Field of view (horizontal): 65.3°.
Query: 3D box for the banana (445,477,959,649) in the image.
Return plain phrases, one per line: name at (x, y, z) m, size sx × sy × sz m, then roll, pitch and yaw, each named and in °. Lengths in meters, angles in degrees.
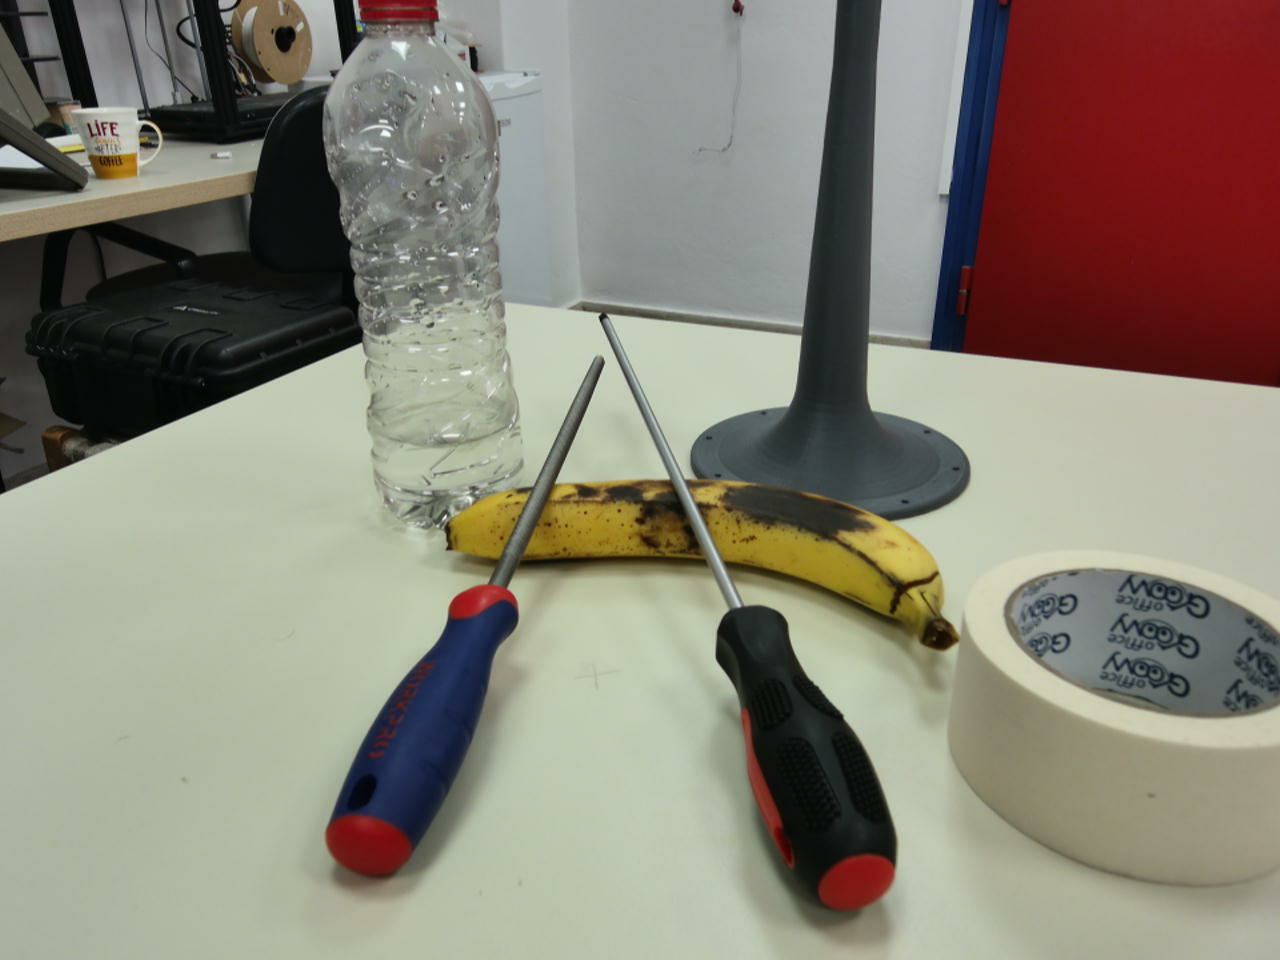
banana at (0.028, 0.025, 0.428) m, size 0.222 × 0.037 × 0.084 m, roll 11°, pitch 26°, yaw 24°
